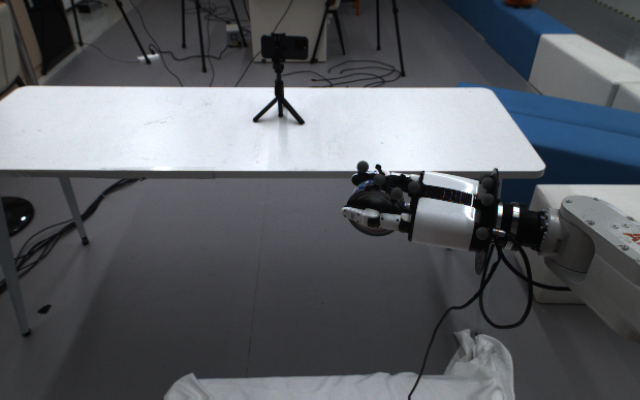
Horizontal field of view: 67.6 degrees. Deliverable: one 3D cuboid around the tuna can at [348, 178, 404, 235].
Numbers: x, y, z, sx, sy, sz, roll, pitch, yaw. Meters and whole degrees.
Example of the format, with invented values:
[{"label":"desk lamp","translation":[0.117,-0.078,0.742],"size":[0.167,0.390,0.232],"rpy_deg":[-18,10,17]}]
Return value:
[{"label":"tuna can","translation":[0.087,0.009,0.742],"size":[0.085,0.085,0.034],"rpy_deg":[12,33,14]}]
